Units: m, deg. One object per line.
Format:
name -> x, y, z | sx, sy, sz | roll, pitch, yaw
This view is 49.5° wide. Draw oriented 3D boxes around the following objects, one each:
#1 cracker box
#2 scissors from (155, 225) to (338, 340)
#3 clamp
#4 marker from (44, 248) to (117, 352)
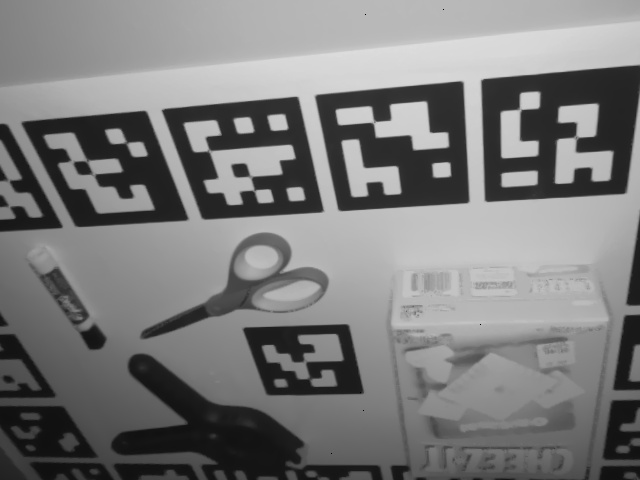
cracker box -> 0.162, 0.119, 0.605 | 0.163, 0.073, 0.212 | -3, 126, 9
scissors -> -0.077, 0.054, 0.617 | 0.200, 0.016, 0.088 | -29, 120, 28
clamp -> -0.094, 0.203, 0.738 | 0.203, 0.037, 0.163 | 21, 128, -8
marker -> -0.217, 0.059, 0.637 | 0.019, 0.020, 0.120 | -7, 126, 13
